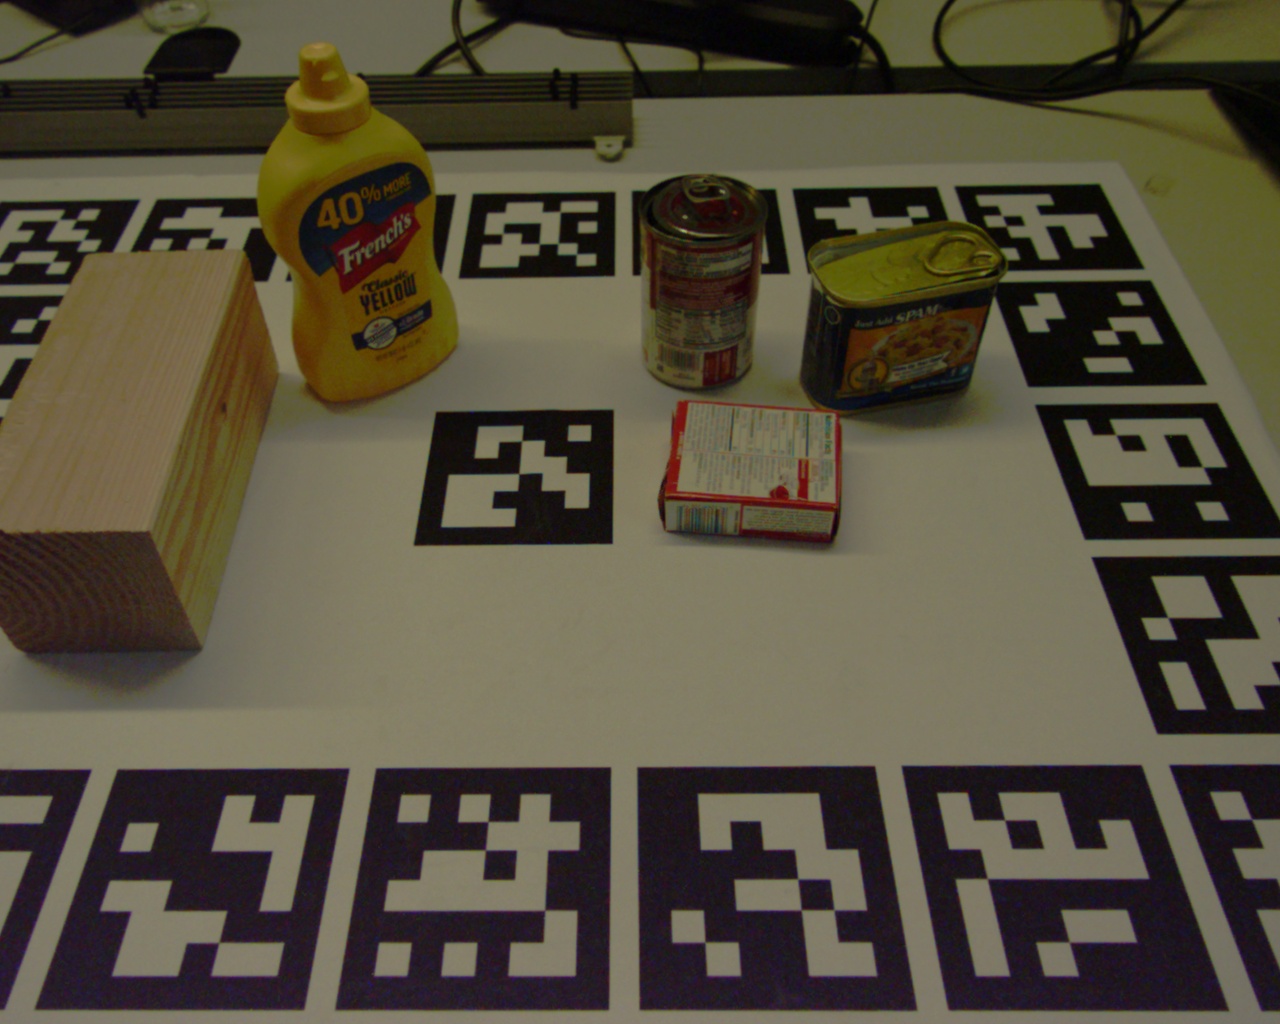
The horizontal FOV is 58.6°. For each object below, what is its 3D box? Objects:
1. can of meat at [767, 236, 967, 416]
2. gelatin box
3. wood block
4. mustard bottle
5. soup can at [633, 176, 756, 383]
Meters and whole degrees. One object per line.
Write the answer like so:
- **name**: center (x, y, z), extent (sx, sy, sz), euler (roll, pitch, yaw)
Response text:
- **can of meat**: center (0.128, -0.106, 0.665), extent (0.101, 0.083, 0.058), euler (-10, 49, -12)
- **gelatin box**: center (0.054, -0.020, 0.618), extent (0.090, 0.030, 0.073), euler (5, 50, 9)
- **wood block**: center (-0.259, -0.035, 0.603), extent (0.091, 0.089, 0.207), euler (0, 44, -1)
- **mustard bottle**: center (-0.164, -0.146, 0.640), extent (0.095, 0.191, 0.059), euler (-20, 50, -19)
- **soup can**: center (0.030, -0.134, 0.667), extent (0.068, 0.101, 0.068), euler (-1, 49, 0)
